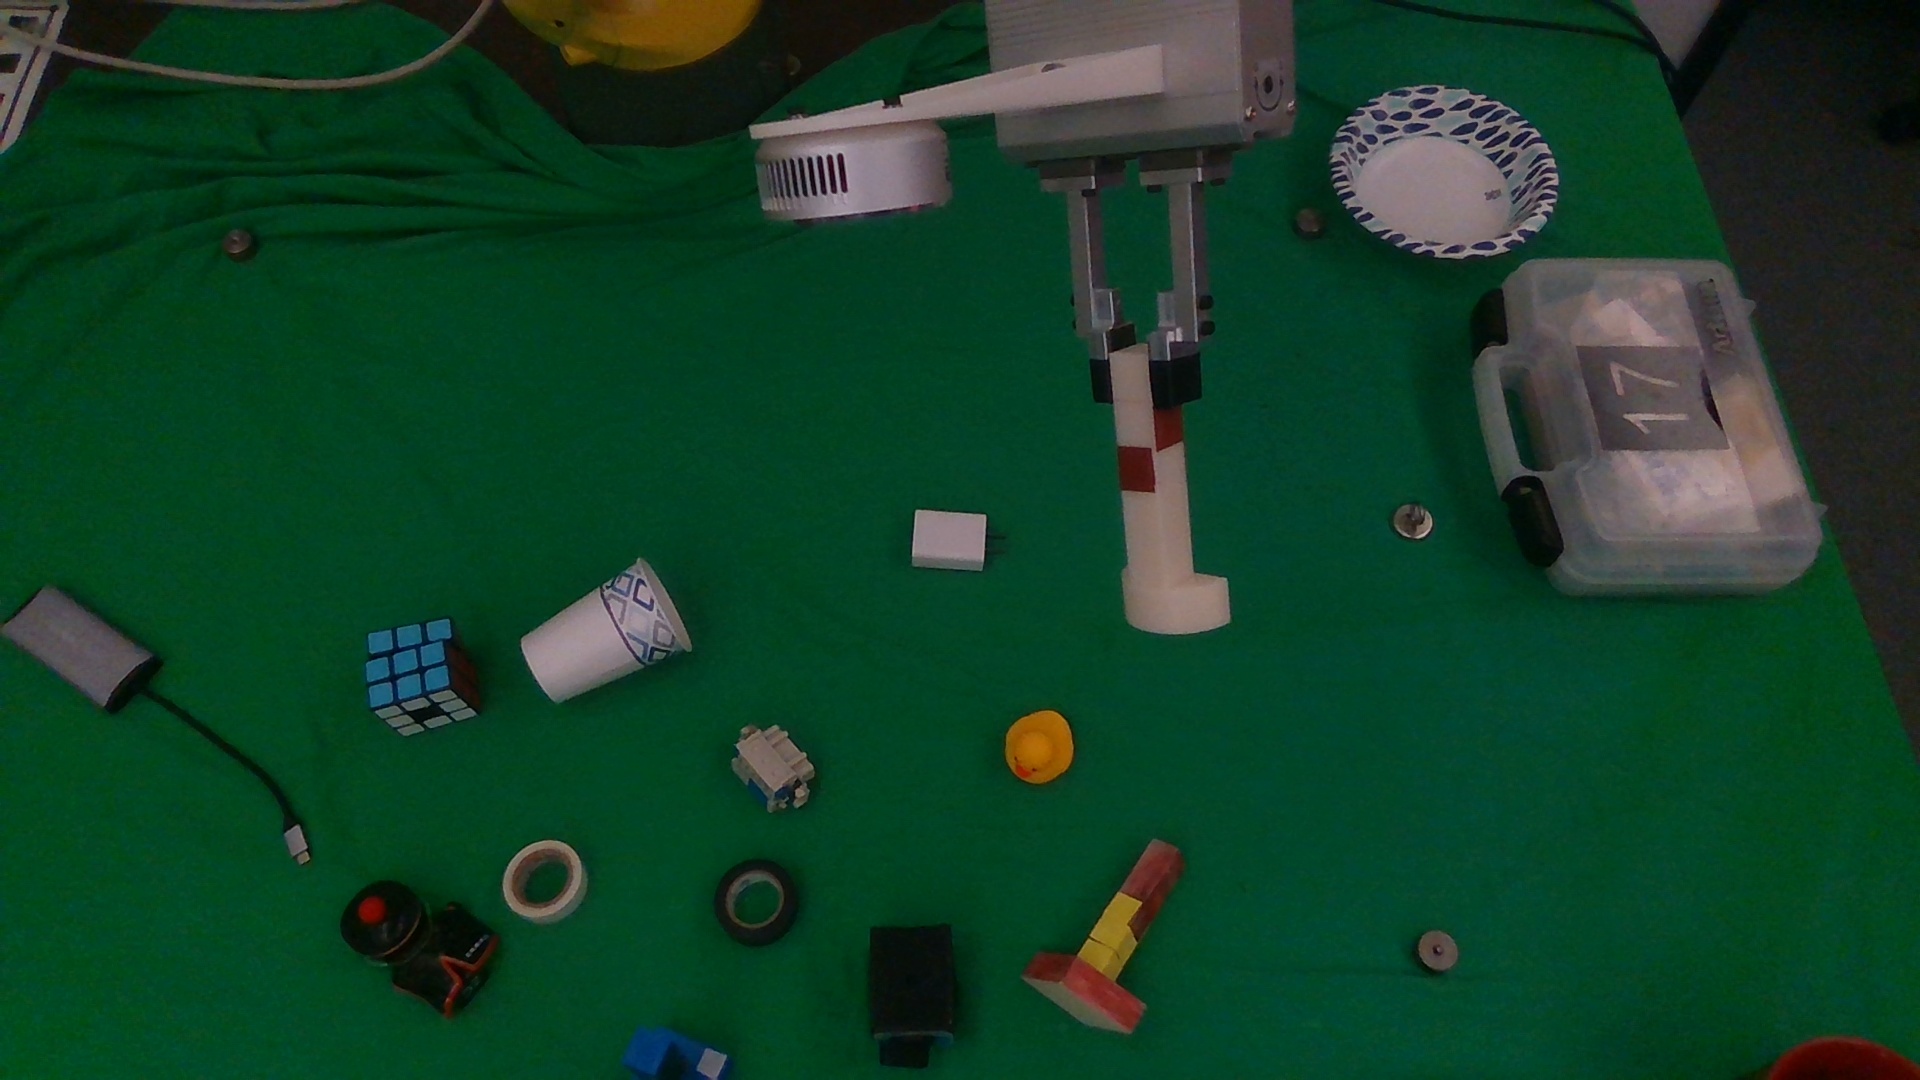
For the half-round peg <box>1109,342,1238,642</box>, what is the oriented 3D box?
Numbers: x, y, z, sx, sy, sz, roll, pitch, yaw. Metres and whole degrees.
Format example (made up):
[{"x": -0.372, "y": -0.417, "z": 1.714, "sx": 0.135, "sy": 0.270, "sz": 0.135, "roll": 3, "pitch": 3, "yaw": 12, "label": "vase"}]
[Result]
[{"x": 0.078, "y": -0.019, "z": 0.559, "sx": 0.031, "sy": 0.122, "sz": 0.055, "roll": -24, "pitch": 23, "yaw": -38, "label": "half-round peg"}]

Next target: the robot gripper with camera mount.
[{"x": 0.012, "y": -0.105, "z": 0.467, "sx": 0.193, "sy": 0.158, "sz": 0.119, "roll": -19, "pitch": 19, "yaw": -40, "label": "robot gripper with camera mount"}]
